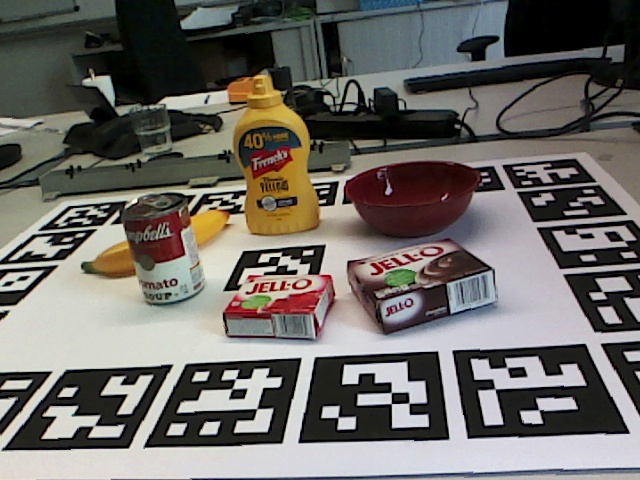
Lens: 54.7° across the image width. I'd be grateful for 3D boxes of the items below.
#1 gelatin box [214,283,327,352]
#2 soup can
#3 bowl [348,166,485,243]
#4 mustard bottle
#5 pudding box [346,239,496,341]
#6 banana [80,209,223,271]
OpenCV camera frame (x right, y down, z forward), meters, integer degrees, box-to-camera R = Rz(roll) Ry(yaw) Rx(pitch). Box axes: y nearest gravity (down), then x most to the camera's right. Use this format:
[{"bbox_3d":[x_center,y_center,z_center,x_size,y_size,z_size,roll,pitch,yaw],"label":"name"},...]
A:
[{"bbox_3d":[-0.045,0.070,0.579,0.089,0.030,0.073,-2,28,15],"label":"gelatin box"},{"bbox_3d":[-0.173,0.006,0.655,0.068,0.102,0.068,-5,22,2],"label":"soup can"},{"bbox_3d":[0.118,-0.040,0.749,0.162,0.055,0.162,-8,23,3],"label":"bowl"},{"bbox_3d":[-0.059,-0.109,0.759,0.096,0.191,0.058,-4,21,9],"label":"mustard bottle"},{"bbox_3d":[0.092,0.044,0.582,0.113,0.038,0.090,-14,30,-13],"label":"pudding box"},{"bbox_3d":[-0.197,-0.001,0.779,0.196,0.039,0.075,-26,19,-34],"label":"banana"}]
